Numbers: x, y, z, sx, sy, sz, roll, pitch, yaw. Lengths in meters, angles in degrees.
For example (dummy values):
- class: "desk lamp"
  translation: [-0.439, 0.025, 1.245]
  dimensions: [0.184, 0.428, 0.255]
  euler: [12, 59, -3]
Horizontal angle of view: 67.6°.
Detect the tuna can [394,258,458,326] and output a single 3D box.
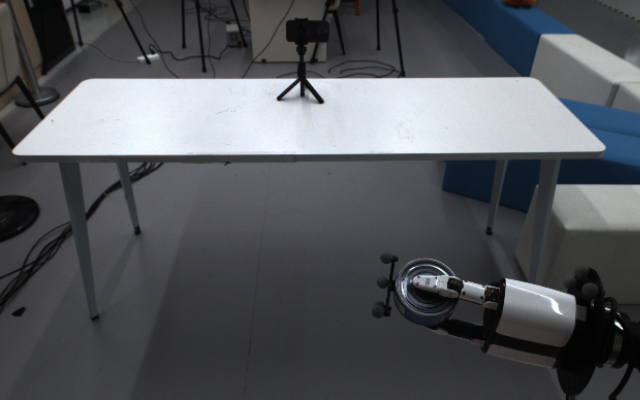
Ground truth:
- class: "tuna can"
  translation: [0.145, 0.120, 0.648]
  dimensions: [0.085, 0.034, 0.085]
  euler: [-2, 57, 3]
